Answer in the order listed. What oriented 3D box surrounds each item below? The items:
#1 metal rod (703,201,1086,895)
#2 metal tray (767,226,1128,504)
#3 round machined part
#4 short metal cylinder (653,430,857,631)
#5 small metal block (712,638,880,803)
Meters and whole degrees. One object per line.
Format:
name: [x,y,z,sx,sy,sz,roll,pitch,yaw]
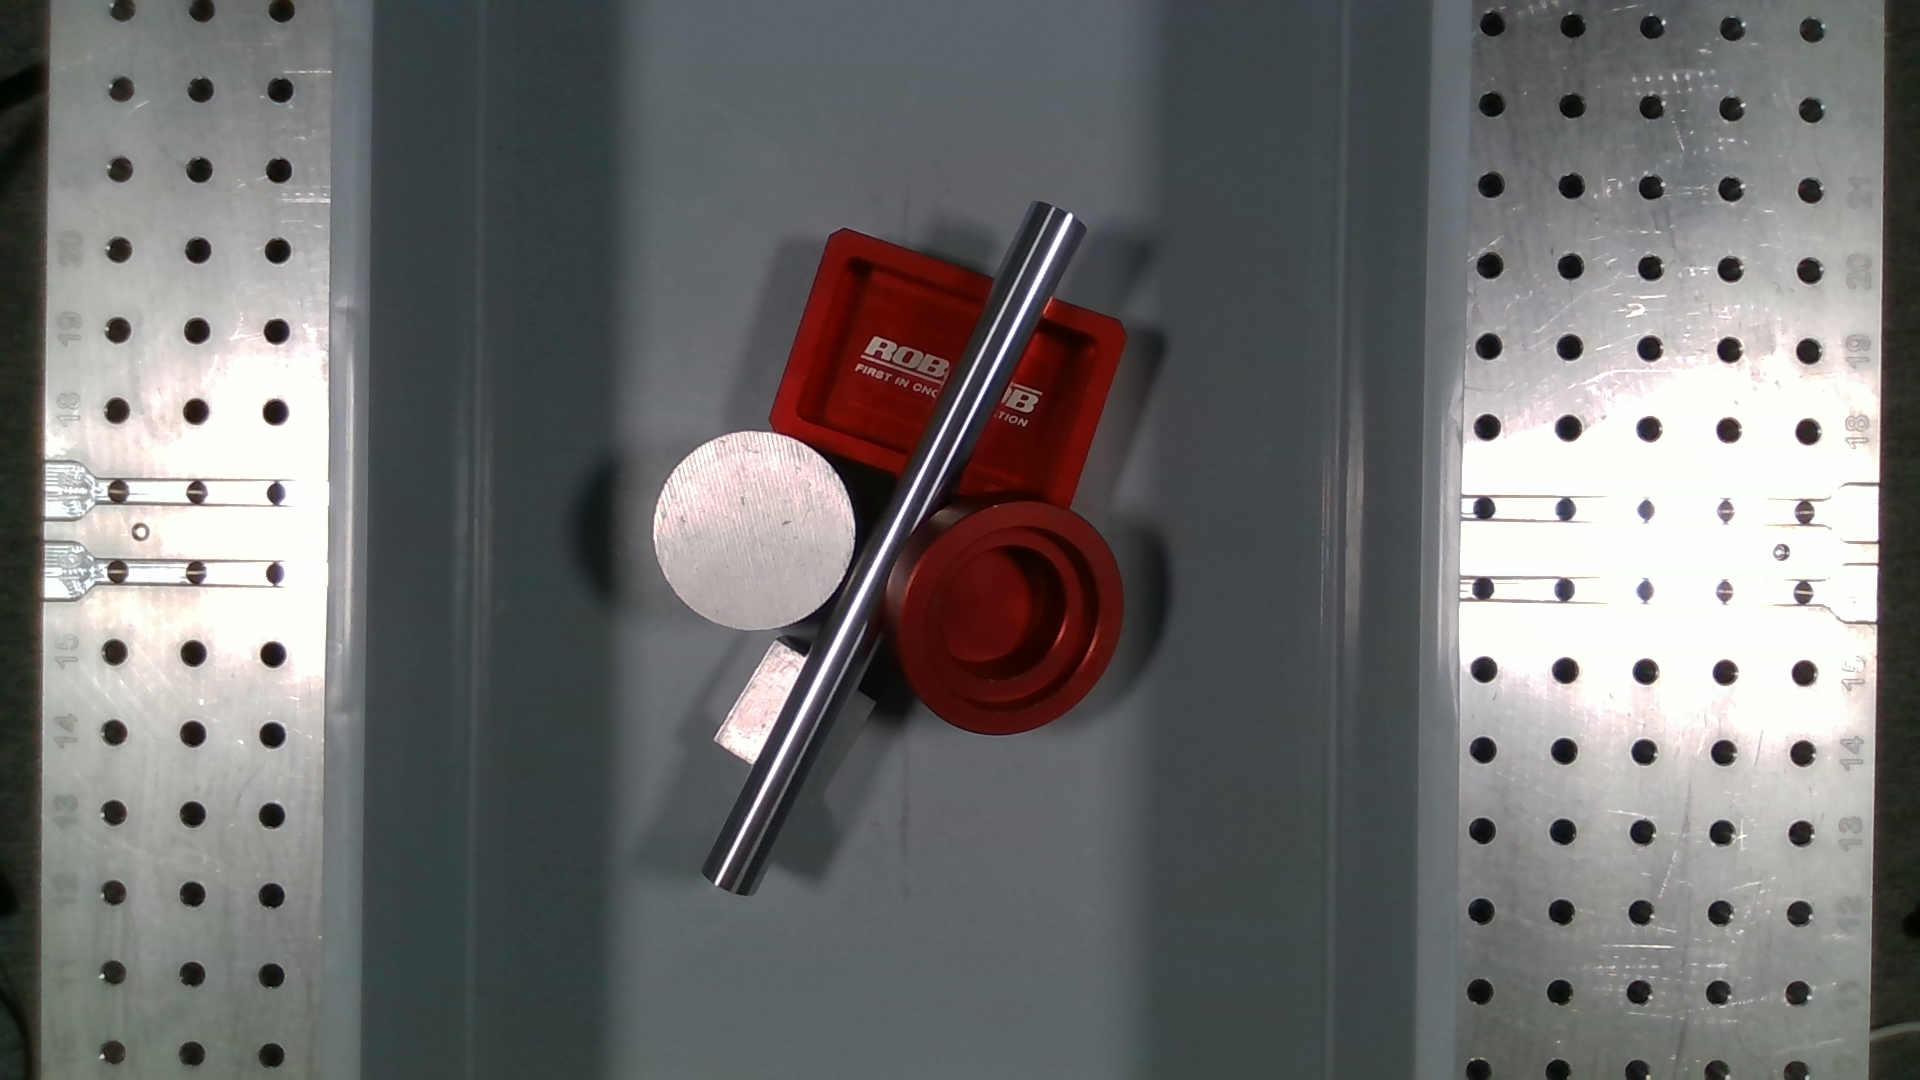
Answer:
metal rod: [-0.027,0.005,0.557,0.025,0.025,0.300,26,93,0]
metal tray: [-0.005,-0.068,0.582,0.130,0.030,0.090,18,90,0]
round machined part: [0.014,0.027,0.565,0.098,0.042,0.098,-5,105,-21]
short metal cylinder: [-0.082,-0.004,0.572,0.080,0.050,0.080,0,90,0]
small metal block: [-0.069,0.075,0.586,0.050,0.025,0.050,31,90,0]
